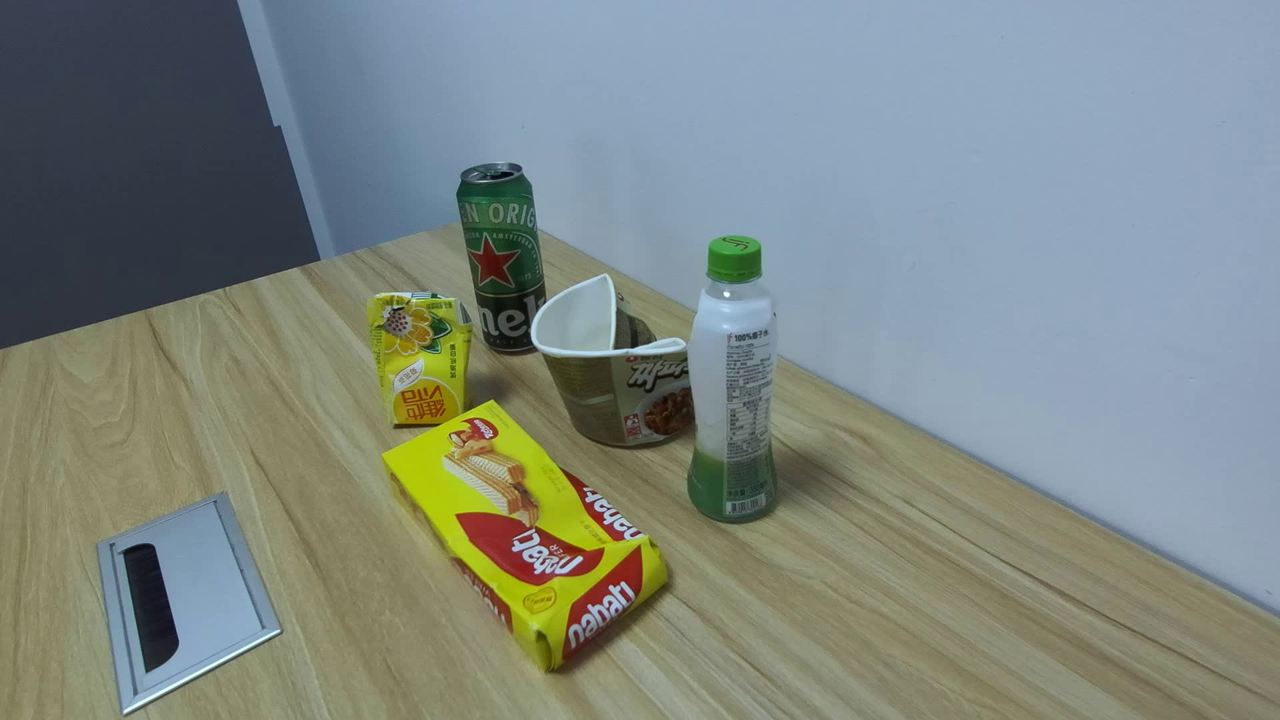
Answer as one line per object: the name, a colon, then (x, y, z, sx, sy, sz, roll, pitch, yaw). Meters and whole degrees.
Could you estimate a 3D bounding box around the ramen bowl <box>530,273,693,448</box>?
ramen bowl: (-0.016, 0.001, 0.566, 0.137, 0.098, 0.137, -2, 31, 2)

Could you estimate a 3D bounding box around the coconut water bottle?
coconut water bottle: (0.061, 0.013, 0.450, 0.069, 0.186, 0.069, -3, 30, 2)

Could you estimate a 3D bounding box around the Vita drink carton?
Vita drink carton: (-0.179, -0.005, 0.587, 0.087, 0.108, 0.042, 0, 18, -1)

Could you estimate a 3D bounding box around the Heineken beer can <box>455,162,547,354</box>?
Heineken beer can: (-0.125, -0.092, 0.659, 0.067, 0.169, 0.067, -2, 31, 1)

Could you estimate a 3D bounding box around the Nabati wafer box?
Nabati wafer box: (-0.078, 0.103, 0.468, 0.107, 0.042, 0.203, -28, 41, -31)
